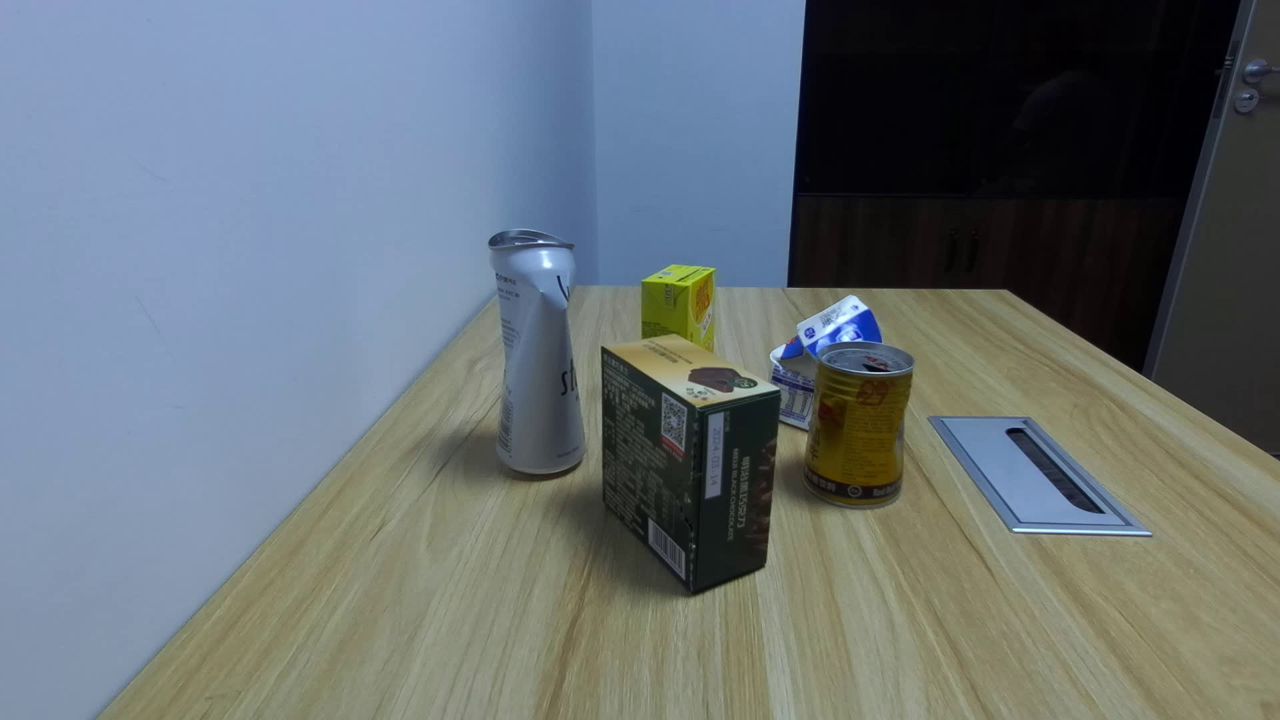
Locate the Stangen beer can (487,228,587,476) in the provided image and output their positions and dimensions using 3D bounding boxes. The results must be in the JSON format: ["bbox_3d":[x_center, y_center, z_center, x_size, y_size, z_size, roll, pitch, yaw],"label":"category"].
[{"bbox_3d":[-0.070,-0.003,0.485,0.077,0.162,0.066,8,23,22],"label":"Stangen beer can"}]

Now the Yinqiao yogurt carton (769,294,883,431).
[{"bbox_3d":[0.151,0.000,0.560,0.077,0.093,0.083,17,25,41],"label":"Yinqiao yogurt carton"}]

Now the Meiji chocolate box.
[{"bbox_3d":[0.024,0.054,0.406,0.056,0.109,0.109,-11,23,-27],"label":"Meiji chocolate box"}]

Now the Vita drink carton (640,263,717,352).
[{"bbox_3d":[0.033,-0.020,0.596,0.043,0.109,0.067,9,23,25],"label":"Vita drink carton"}]

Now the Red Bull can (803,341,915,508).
[{"bbox_3d":[0.142,0.040,0.457,0.069,0.092,0.069,-1,21,1],"label":"Red Bull can"}]
